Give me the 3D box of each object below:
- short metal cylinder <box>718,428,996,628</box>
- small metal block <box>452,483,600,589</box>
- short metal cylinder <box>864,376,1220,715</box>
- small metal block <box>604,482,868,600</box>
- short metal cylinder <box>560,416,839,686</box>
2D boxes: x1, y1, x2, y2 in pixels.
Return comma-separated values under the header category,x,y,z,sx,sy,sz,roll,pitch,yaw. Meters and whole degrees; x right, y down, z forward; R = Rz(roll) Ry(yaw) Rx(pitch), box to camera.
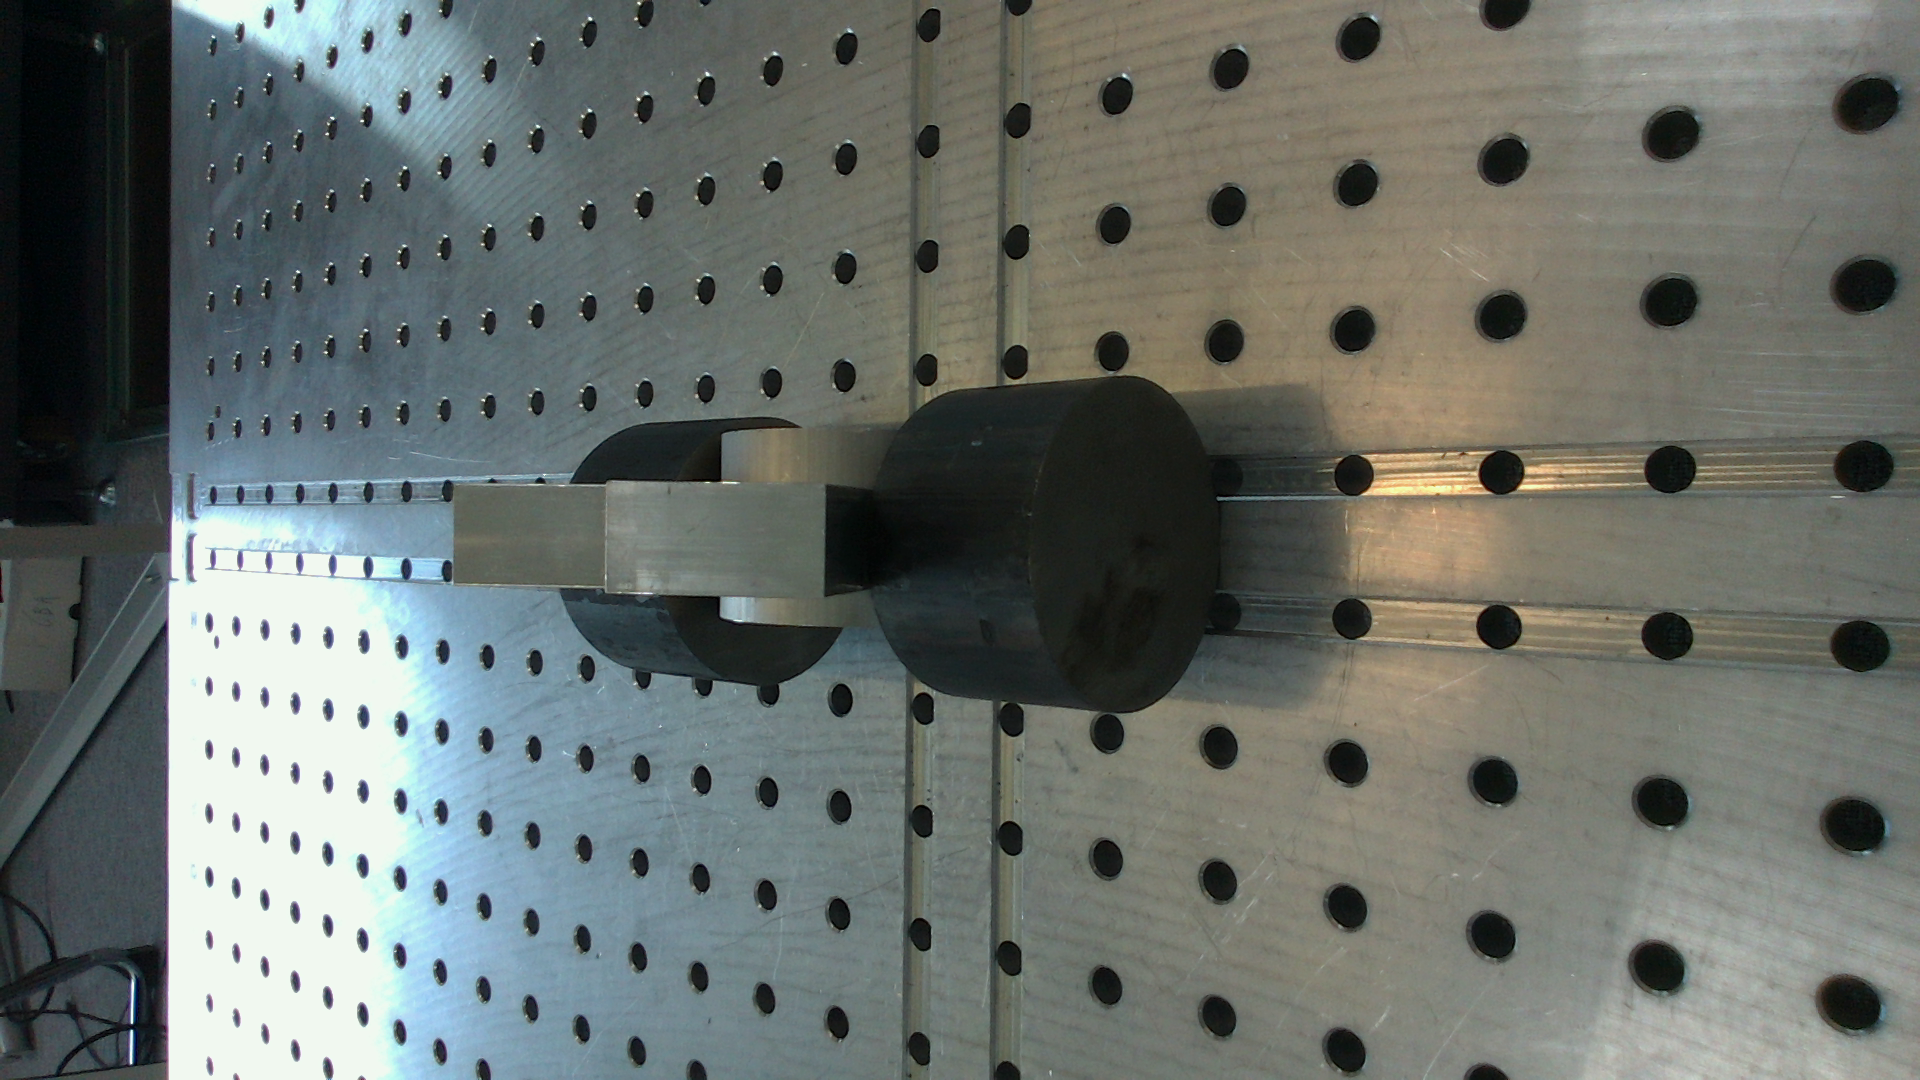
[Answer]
category,x,y,z,sx,sy,sz,roll,pitch,yaw
short metal cylinder,-0.027,-0.003,0.384,0.080,0.080,0.050,1,91,40
small metal block,-0.095,-0.001,0.354,0.050,0.050,0.025,1,91,9
short metal cylinder,0.022,0.001,0.342,0.050,0.080,0.080,1,91,41
small metal block,-0.049,0.000,0.322,0.050,0.050,0.025,1,91,10
short metal cylinder,-0.077,0.003,0.426,0.050,0.080,0.080,1,91,40
